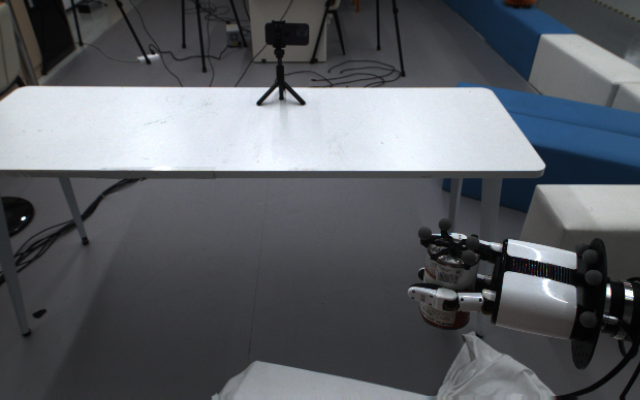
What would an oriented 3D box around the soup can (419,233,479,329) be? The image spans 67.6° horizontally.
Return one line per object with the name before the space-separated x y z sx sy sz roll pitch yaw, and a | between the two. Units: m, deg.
soup can | 0.172 0.109 0.639 0.067 0.101 0.067 1 25 0
